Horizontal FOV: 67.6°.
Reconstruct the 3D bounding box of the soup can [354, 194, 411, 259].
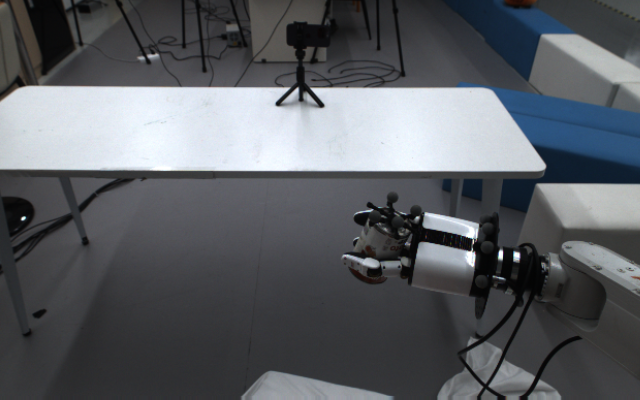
[{"bbox_3d":[0.090,0.069,0.736,0.067,0.101,0.067,14,36,-10],"label":"soup can"}]
